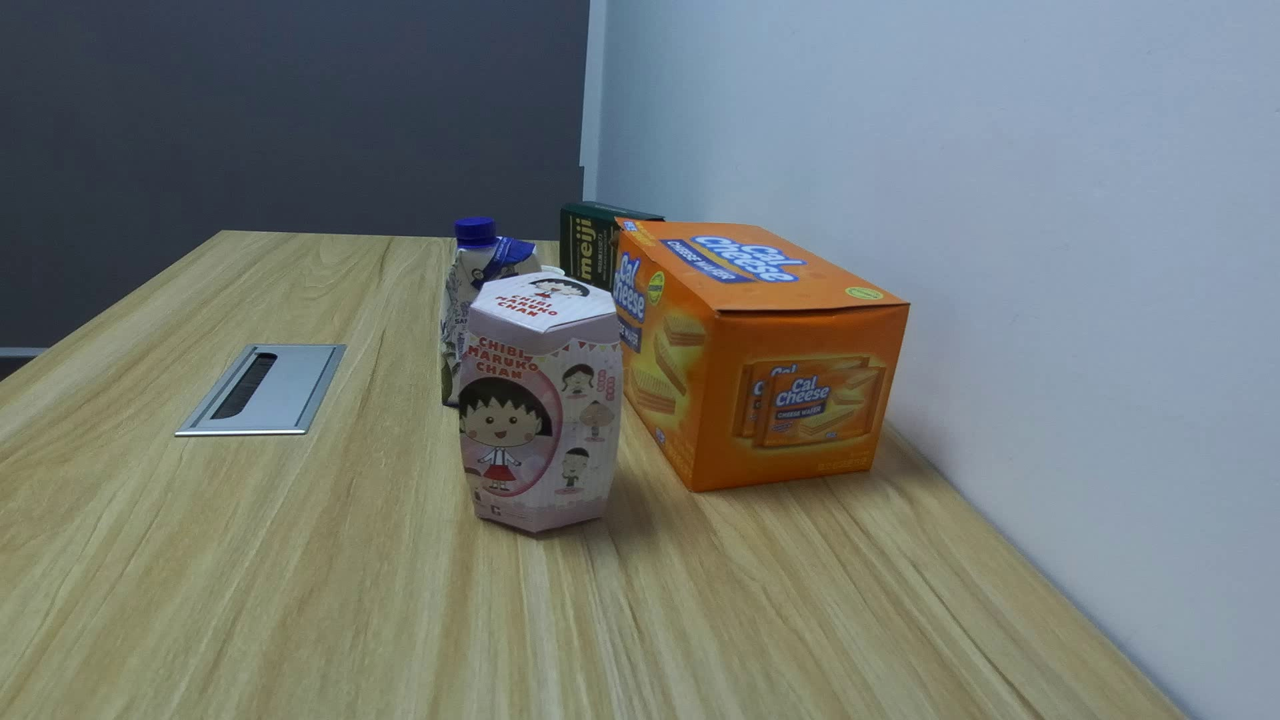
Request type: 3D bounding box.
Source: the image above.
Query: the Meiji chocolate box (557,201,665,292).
[{"bbox_3d":[-0.029,-0.101,0.735,0.122,0.116,0.059,24,30,39],"label":"Meiji chocolate box"}]

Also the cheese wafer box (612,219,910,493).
[{"bbox_3d":[0.072,-0.021,0.552,0.150,0.137,0.226,-3,25,-18],"label":"cheese wafer box"}]

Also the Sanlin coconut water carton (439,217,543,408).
[{"bbox_3d":[-0.112,-0.033,0.533,0.068,0.144,0.056,11,26,-5],"label":"Sanlin coconut water carton"}]
